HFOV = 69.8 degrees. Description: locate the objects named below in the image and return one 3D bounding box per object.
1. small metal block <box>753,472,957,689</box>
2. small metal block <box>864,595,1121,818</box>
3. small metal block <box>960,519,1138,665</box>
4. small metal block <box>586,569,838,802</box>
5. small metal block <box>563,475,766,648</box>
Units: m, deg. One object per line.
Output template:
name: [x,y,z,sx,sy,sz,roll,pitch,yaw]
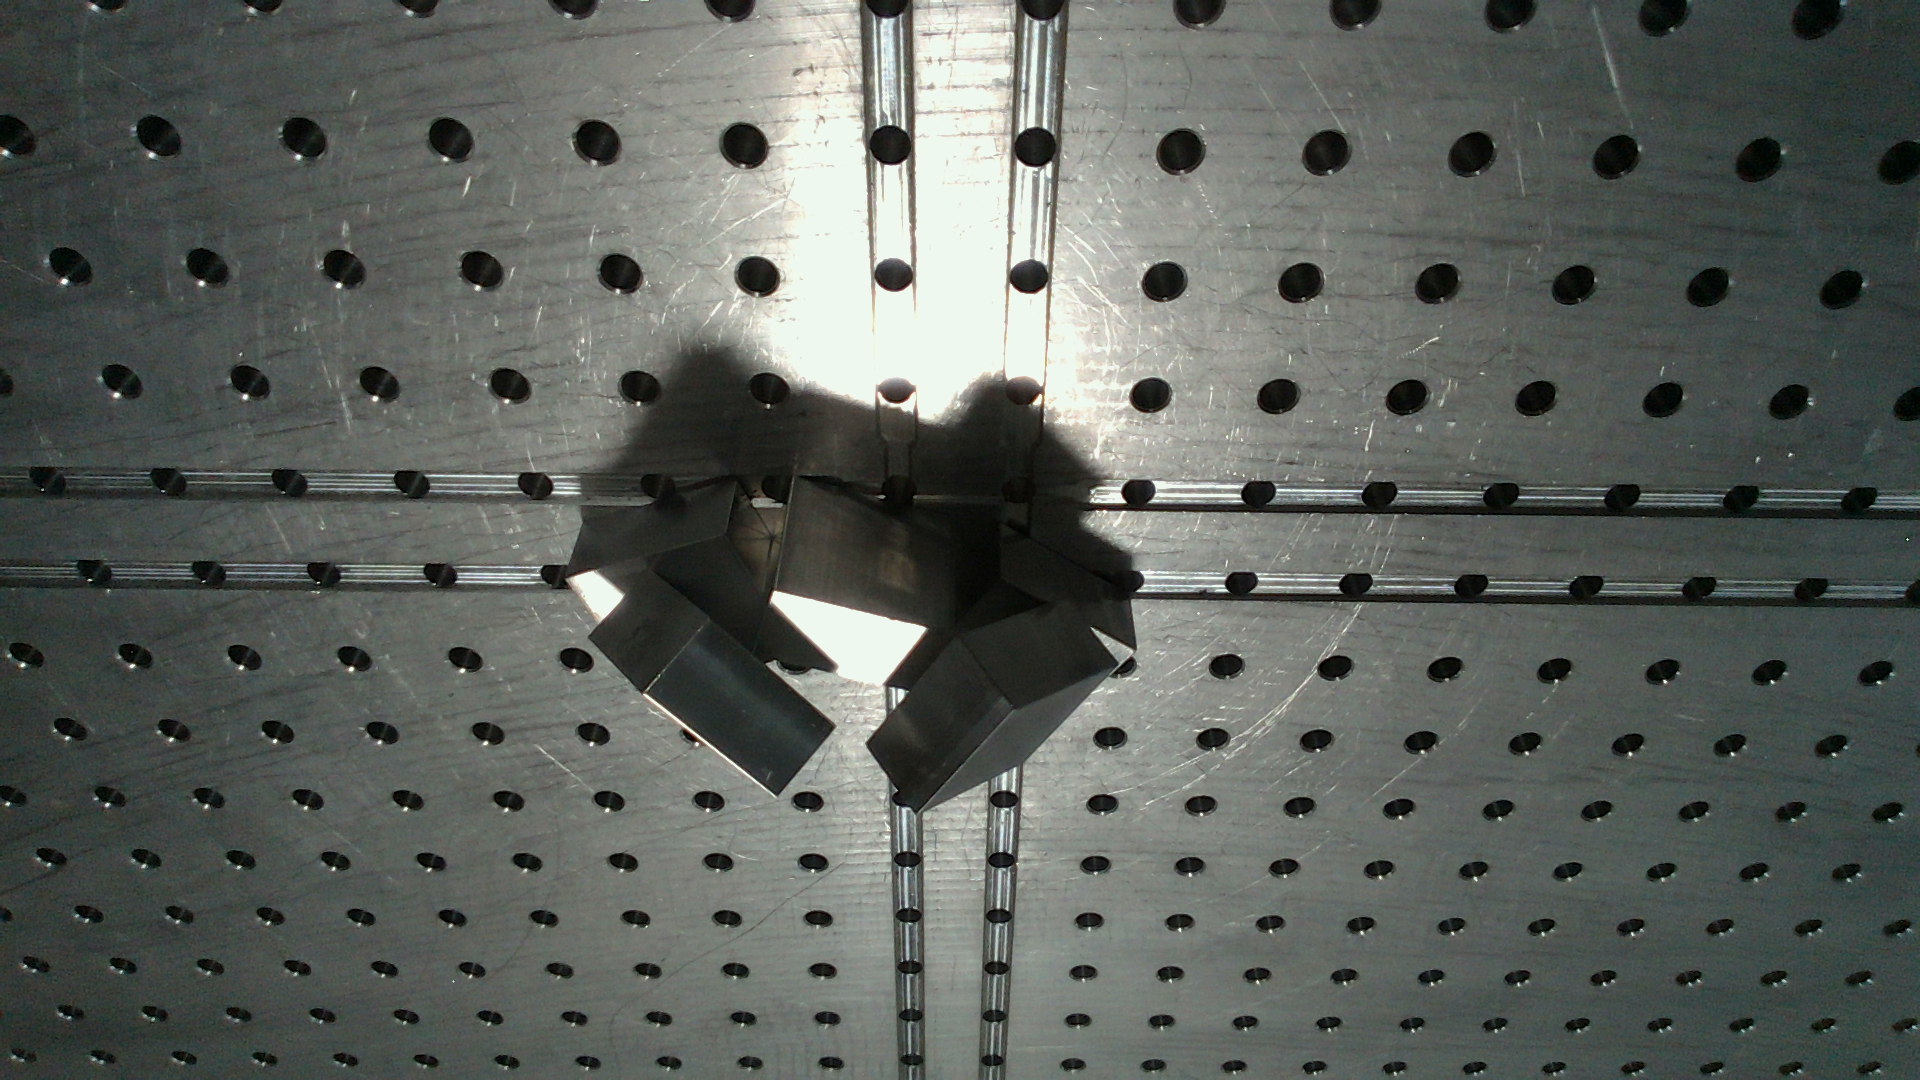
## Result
small metal block: [-0.029,0.012,0.387,0.050,0.050,0.025,14,129,-12]
small metal block: [0.009,0.045,0.381,0.050,0.025,0.050,-15,150,-51]
small metal block: [0.018,0.028,0.418,0.050,0.025,0.050,28,124,-22]
small metal block: [-0.068,0.039,0.373,0.025,0.050,0.050,-50,122,-10]
small metal block: [-0.080,0.014,0.405,0.050,0.025,0.050,-15,129,12]
